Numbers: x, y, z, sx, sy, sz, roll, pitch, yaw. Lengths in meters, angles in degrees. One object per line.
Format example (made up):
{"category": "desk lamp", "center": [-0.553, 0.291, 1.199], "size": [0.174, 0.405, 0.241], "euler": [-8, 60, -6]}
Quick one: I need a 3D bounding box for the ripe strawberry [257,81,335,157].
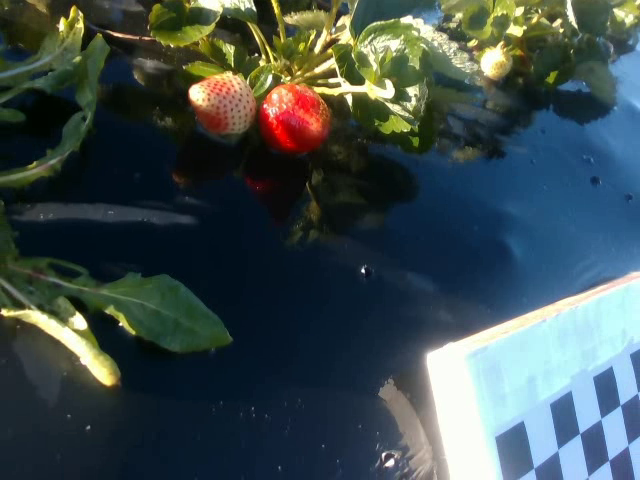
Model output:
{"category": "ripe strawberry", "center": [-0.007, -0.060, 0.296], "size": [0.040, 0.038, 0.055], "euler": [-27, 12, -12]}
